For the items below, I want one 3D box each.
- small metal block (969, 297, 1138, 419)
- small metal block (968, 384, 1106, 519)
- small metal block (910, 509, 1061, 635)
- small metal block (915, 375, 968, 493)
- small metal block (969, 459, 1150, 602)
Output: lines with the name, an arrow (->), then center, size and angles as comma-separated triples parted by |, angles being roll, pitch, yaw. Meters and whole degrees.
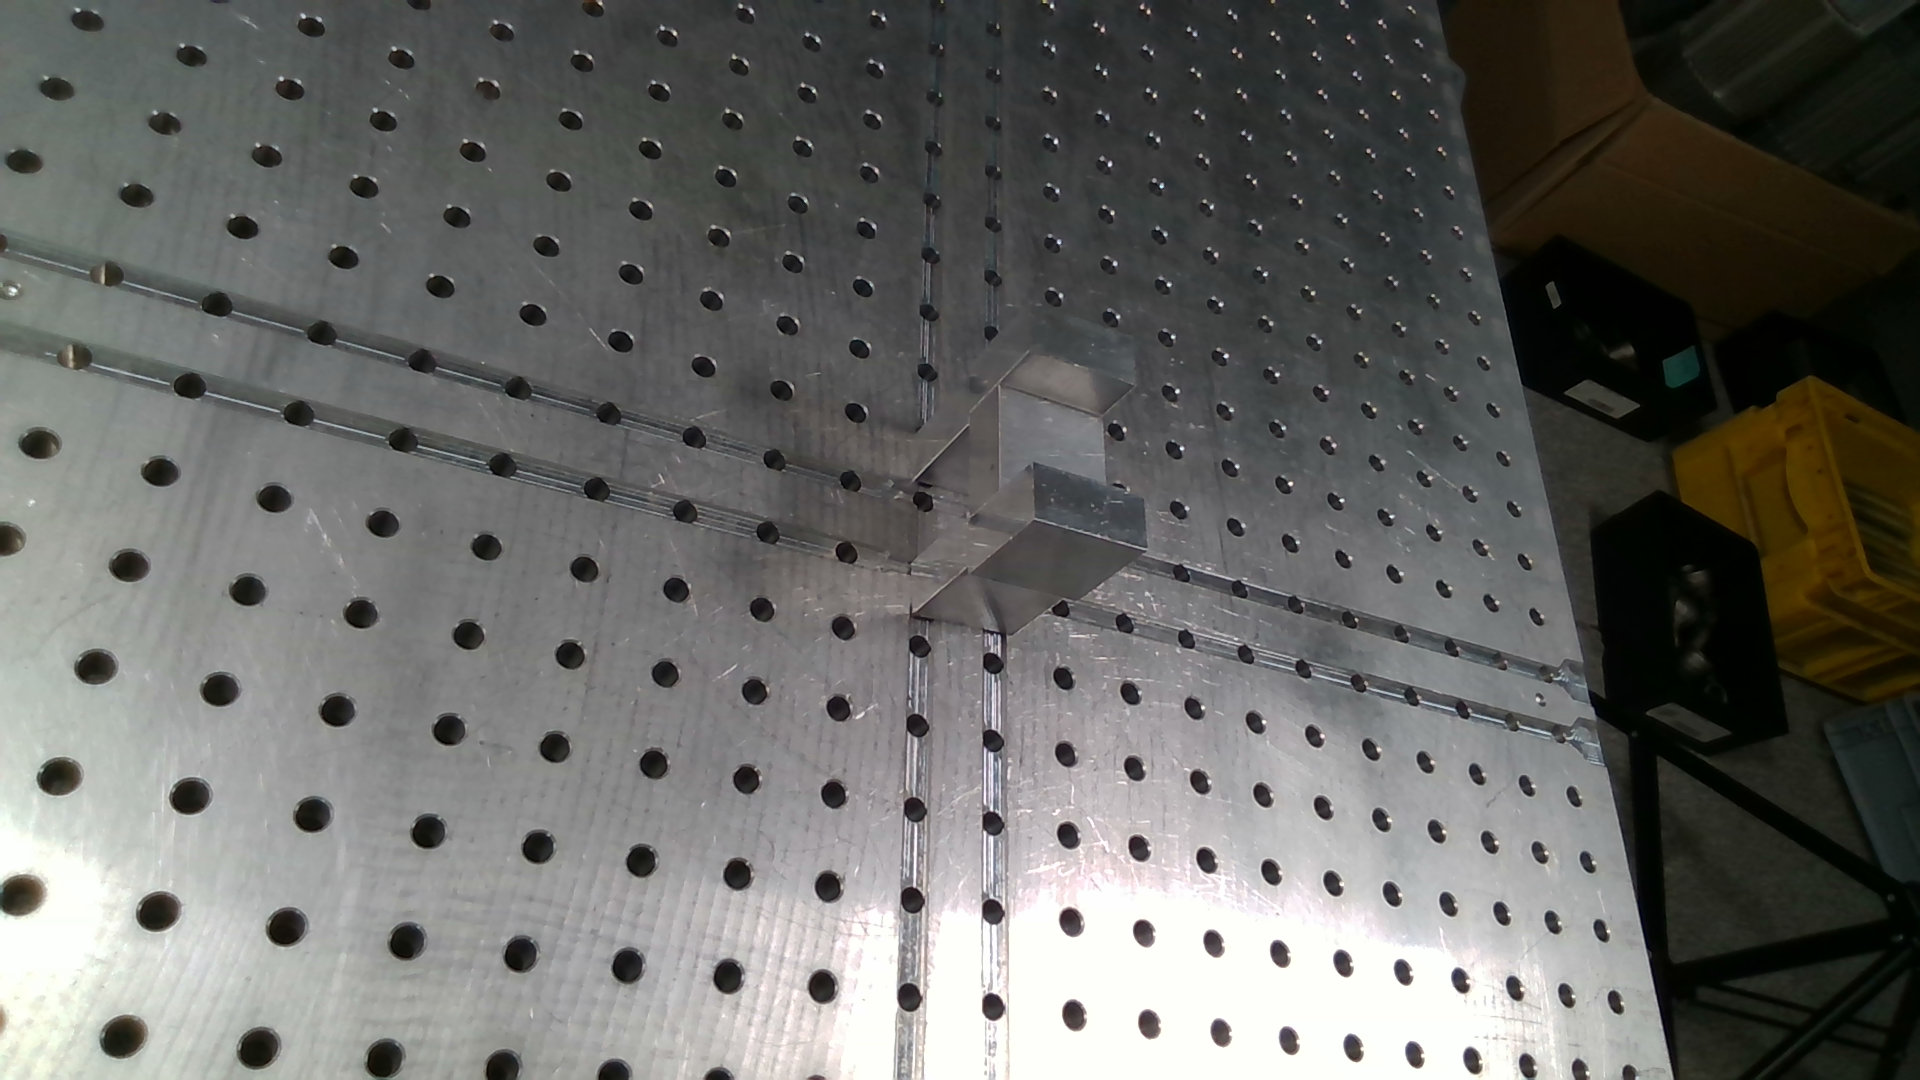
small metal block -> 0.038, -0.068, 0.567 | 0.050, 0.050, 0.025 | 15, 58, -25
small metal block -> 0.031, -0.029, 0.560 | 0.050, 0.025, 0.050 | 15, 58, -24
small metal block -> 0.013, 0.014, 0.573 | 0.050, 0.050, 0.025 | 14, 59, -25
small metal block -> 0.013, -0.042, 0.603 | 0.050, 0.050, 0.025 | 15, 58, -24
small metal block -> 0.037, -0.002, 0.531 | 0.050, 0.050, 0.025 | 15, 58, -25
